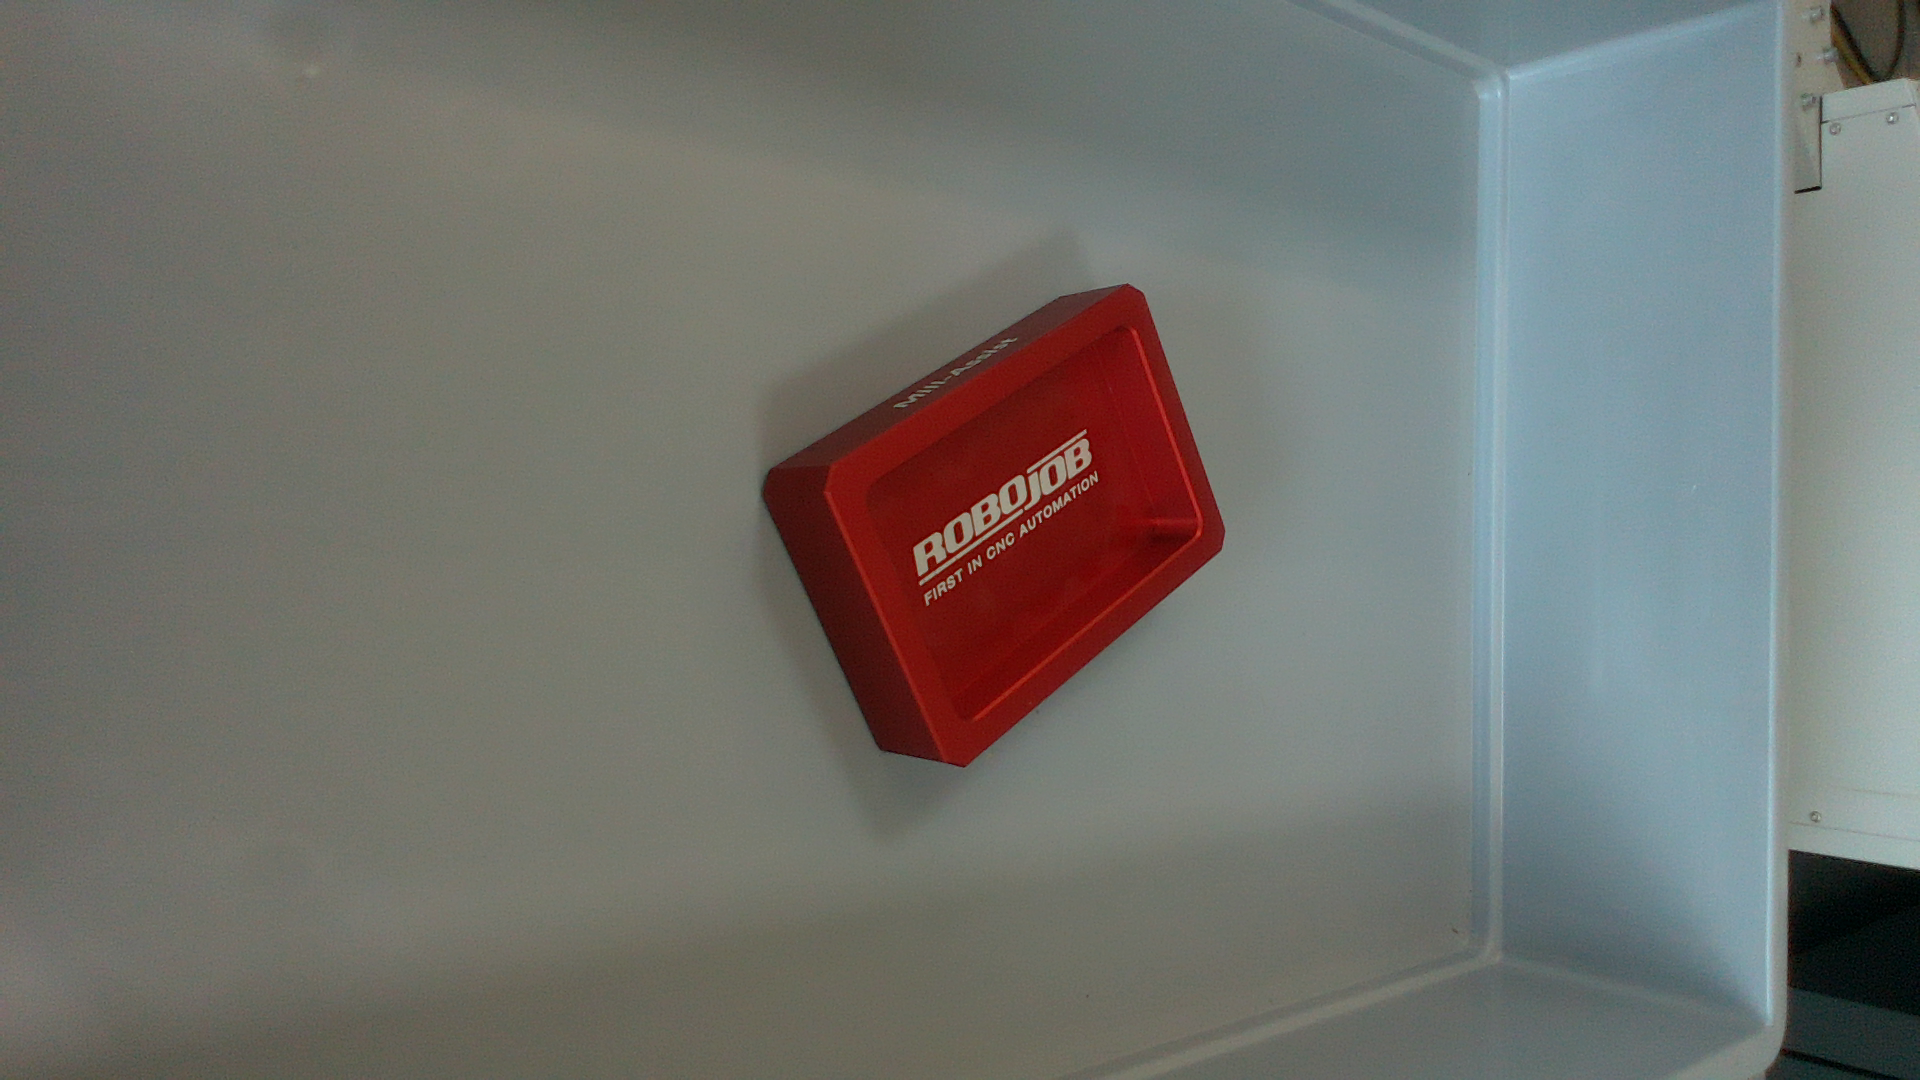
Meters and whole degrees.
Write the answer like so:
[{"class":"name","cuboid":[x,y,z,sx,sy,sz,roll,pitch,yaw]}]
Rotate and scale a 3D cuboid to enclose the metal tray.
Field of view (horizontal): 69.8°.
[{"class":"metal tray","cuboid":[0.016,-0.008,0.395,0.130,0.030,0.090,-35,112,-35]}]
